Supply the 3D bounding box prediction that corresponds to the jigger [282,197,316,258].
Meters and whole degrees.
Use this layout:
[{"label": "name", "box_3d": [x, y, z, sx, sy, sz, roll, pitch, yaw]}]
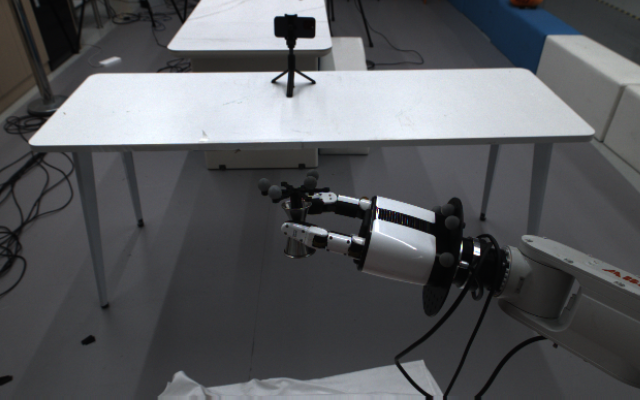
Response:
[{"label": "jigger", "box_3d": [-0.029, 0.037, 0.640, 0.043, 0.071, 0.043, -2, 19, 1]}]
